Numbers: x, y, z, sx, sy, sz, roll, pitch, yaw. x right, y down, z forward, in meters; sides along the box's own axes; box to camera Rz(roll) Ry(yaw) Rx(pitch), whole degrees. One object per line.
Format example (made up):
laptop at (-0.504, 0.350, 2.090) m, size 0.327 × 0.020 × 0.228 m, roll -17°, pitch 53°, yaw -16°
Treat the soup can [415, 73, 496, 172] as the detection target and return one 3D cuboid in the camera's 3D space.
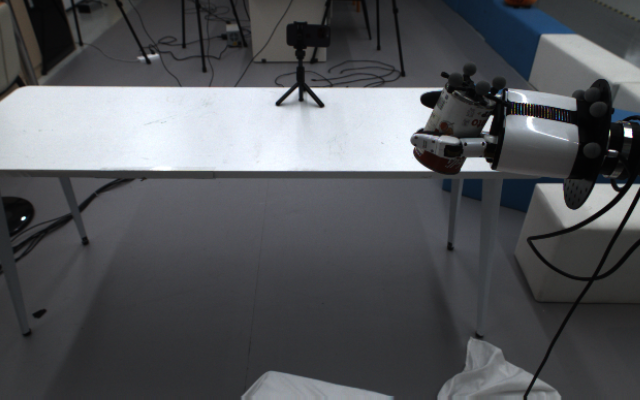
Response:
soup can at (0.172, -0.093, 0.620) m, size 0.067 × 0.101 × 0.067 m, roll 14°, pitch 35°, yaw -10°
